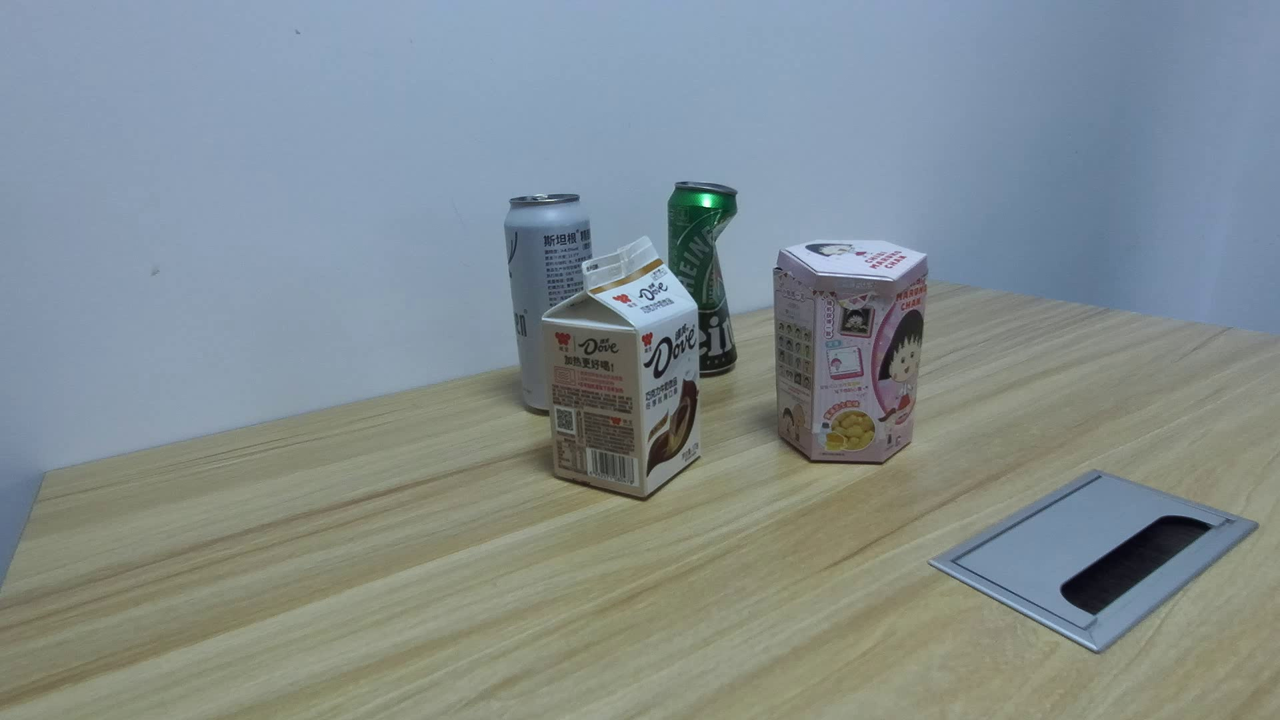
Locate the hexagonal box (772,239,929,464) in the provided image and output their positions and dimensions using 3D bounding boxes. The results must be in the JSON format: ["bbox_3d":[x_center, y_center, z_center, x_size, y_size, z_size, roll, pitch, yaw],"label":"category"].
[{"bbox_3d":[0.138,-0.007,0.474,0.084,0.135,0.092,15,25,41],"label":"hexagonal box"}]

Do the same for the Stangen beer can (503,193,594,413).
[{"bbox_3d":[-0.067,-0.043,0.566,0.067,0.171,0.067,-4,13,1],"label":"Stangen beer can"}]

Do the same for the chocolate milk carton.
[{"bbox_3d":[-0.009,0.000,0.451,0.073,0.148,0.075,9,20,32],"label":"chocolate milk carton"}]

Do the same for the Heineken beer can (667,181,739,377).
[{"bbox_3d":[0.058,-0.072,0.635,0.069,0.168,0.069,-11,22,-32],"label":"Heineken beer can"}]
